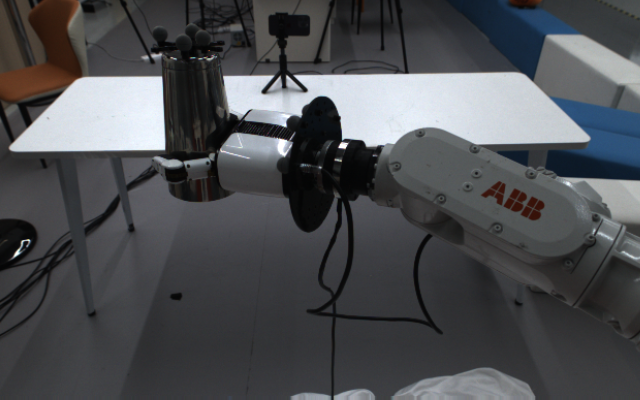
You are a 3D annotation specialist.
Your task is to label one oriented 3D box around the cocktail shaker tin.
[{"bbox_3d":[-0.149,-0.094,0.598,0.093,0.170,0.093,1,28,0],"label":"cocktail shaker tin"}]
